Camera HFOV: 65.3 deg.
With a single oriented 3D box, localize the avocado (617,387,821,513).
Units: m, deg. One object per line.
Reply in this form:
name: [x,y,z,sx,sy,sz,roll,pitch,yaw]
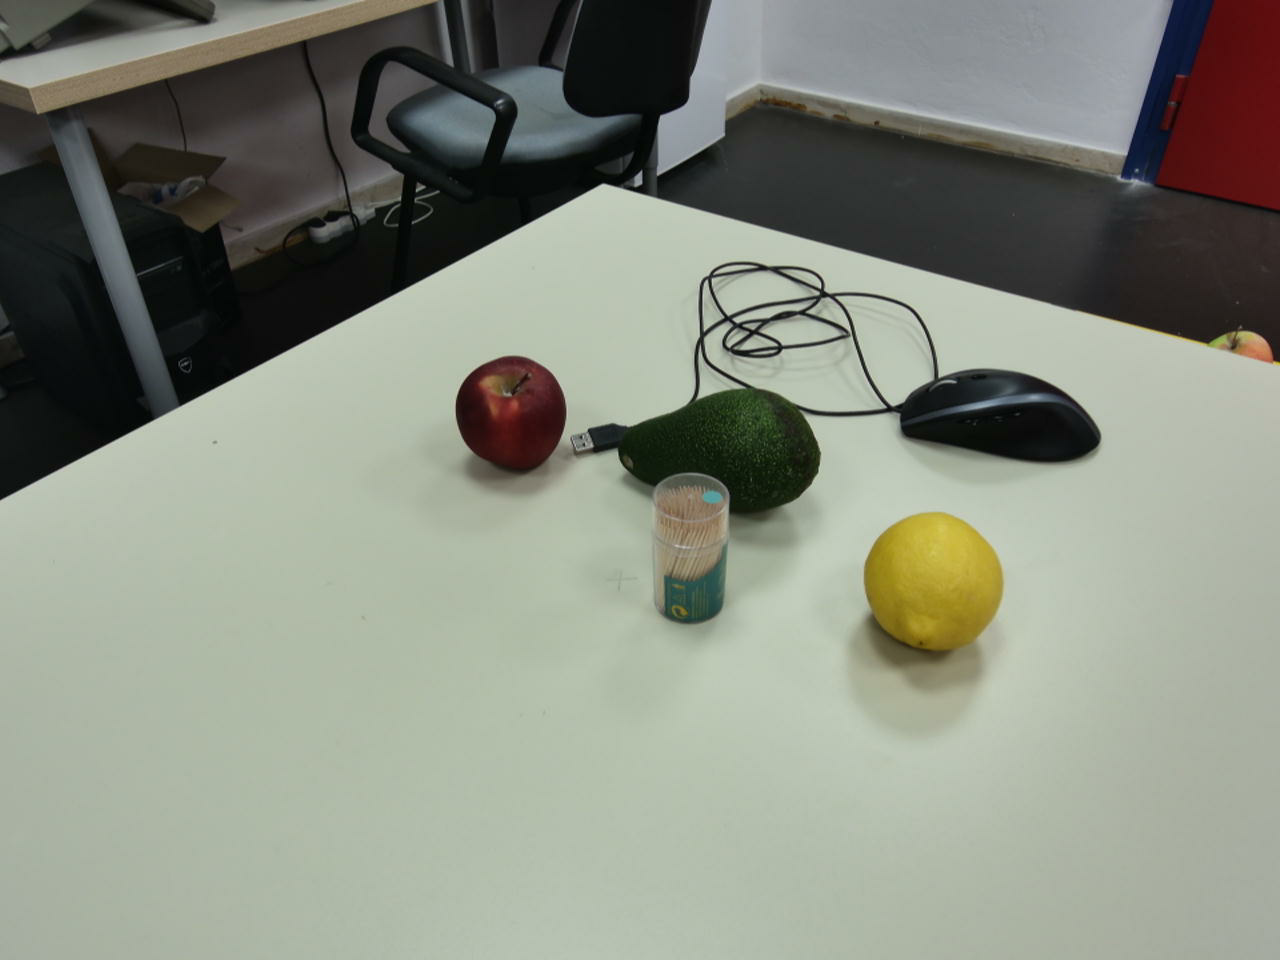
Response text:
avocado: [0.051,-0.024,0.596,0.123,0.076,0.074,29,47,33]
